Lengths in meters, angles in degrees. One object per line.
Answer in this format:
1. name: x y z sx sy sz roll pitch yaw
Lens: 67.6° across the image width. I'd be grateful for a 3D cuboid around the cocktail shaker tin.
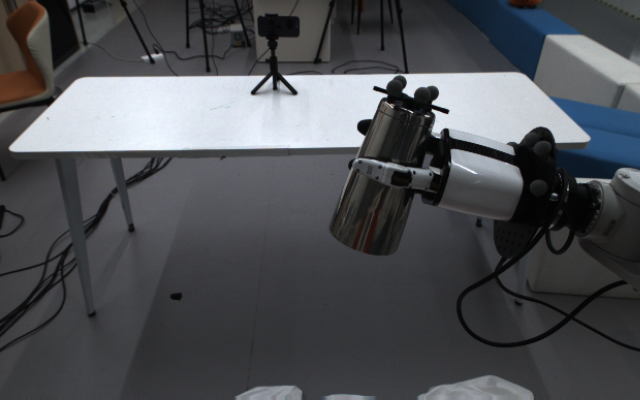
1. cocktail shaker tin: 0.080 -0.031 0.582 0.093 0.170 0.093 15 22 -6
